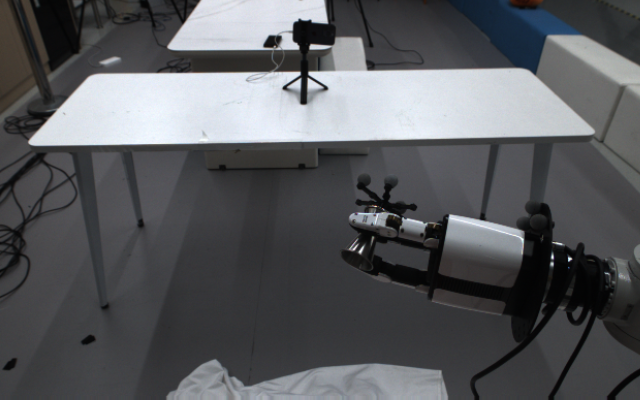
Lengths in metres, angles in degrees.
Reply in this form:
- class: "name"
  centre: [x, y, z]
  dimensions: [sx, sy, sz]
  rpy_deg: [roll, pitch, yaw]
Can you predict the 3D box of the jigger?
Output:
- class: "jigger"
  centre: [0.057, 0.042, 0.582]
  dimensions: [0.043, 0.043, 0.071]
  rpy_deg: [19, 61, 23]
